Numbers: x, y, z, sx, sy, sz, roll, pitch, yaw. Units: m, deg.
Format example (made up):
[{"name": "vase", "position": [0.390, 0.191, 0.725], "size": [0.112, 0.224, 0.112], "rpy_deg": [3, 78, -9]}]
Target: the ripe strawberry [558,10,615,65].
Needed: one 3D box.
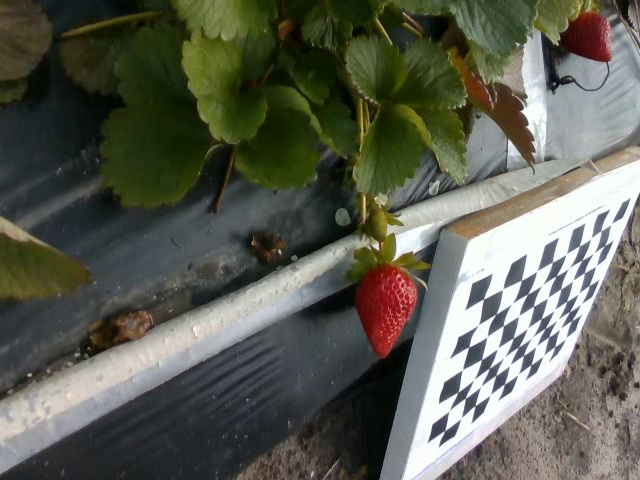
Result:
[{"name": "ripe strawberry", "position": [0.193, -0.144, 0.406], "size": [0.037, 0.048, 0.030], "rpy_deg": [-5, -24, -45]}]

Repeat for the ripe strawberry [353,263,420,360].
[{"name": "ripe strawberry", "position": [0.033, 0.036, 0.292], "size": [0.030, 0.053, 0.047], "rpy_deg": [4, -16, 33]}]
